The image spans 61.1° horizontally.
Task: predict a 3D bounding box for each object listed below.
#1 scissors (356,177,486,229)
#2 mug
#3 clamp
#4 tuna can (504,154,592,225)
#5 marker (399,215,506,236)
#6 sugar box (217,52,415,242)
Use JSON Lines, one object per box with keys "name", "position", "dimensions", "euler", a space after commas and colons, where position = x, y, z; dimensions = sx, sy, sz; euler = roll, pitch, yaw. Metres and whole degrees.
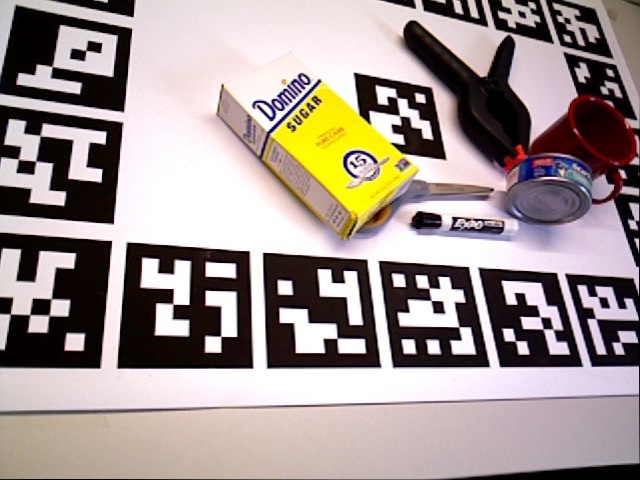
{"name": "scissors", "position": [0.090, -0.057, 0.551], "dimensions": [0.199, 0.016, 0.087], "euler": [-6, 66, -26]}
{"name": "mug", "position": [0.287, -0.094, 0.616], "dimensions": [0.091, 0.083, 0.117], "euler": [-24, 74, -30]}
{"name": "clamp", "position": [0.186, -0.172, 0.645], "dimensions": [0.162, 0.037, 0.202], "euler": [-6, 71, -24]}
{"name": "tuna can", "position": [0.238, -0.052, 0.572], "dimensions": [0.085, 0.088, 0.033], "euler": [20, 60, -12]}
{"name": "marker", "position": [0.135, -0.015, 0.553], "dimensions": [0.119, 0.020, 0.019], "euler": [1, 67, -21]}
{"name": "sugar box", "position": [-0.005, -0.093, 0.510], "dimensions": [0.091, 0.046, 0.176], "euler": [-35, 77, -31]}
